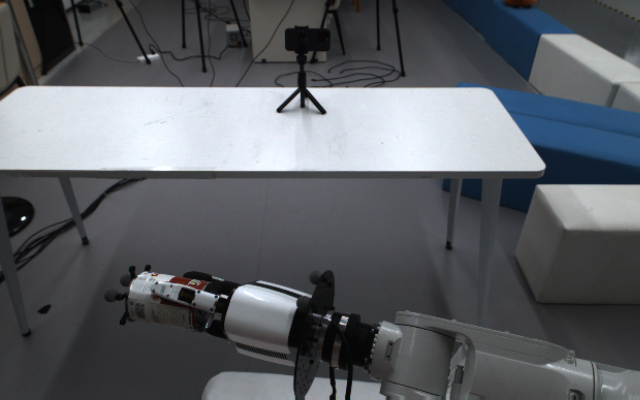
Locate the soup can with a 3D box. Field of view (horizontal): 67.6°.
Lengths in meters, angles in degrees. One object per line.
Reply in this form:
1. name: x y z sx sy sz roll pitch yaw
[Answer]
1. soup can: -0.195 0.137 0.648 0.101 0.067 0.067 7 35 10
